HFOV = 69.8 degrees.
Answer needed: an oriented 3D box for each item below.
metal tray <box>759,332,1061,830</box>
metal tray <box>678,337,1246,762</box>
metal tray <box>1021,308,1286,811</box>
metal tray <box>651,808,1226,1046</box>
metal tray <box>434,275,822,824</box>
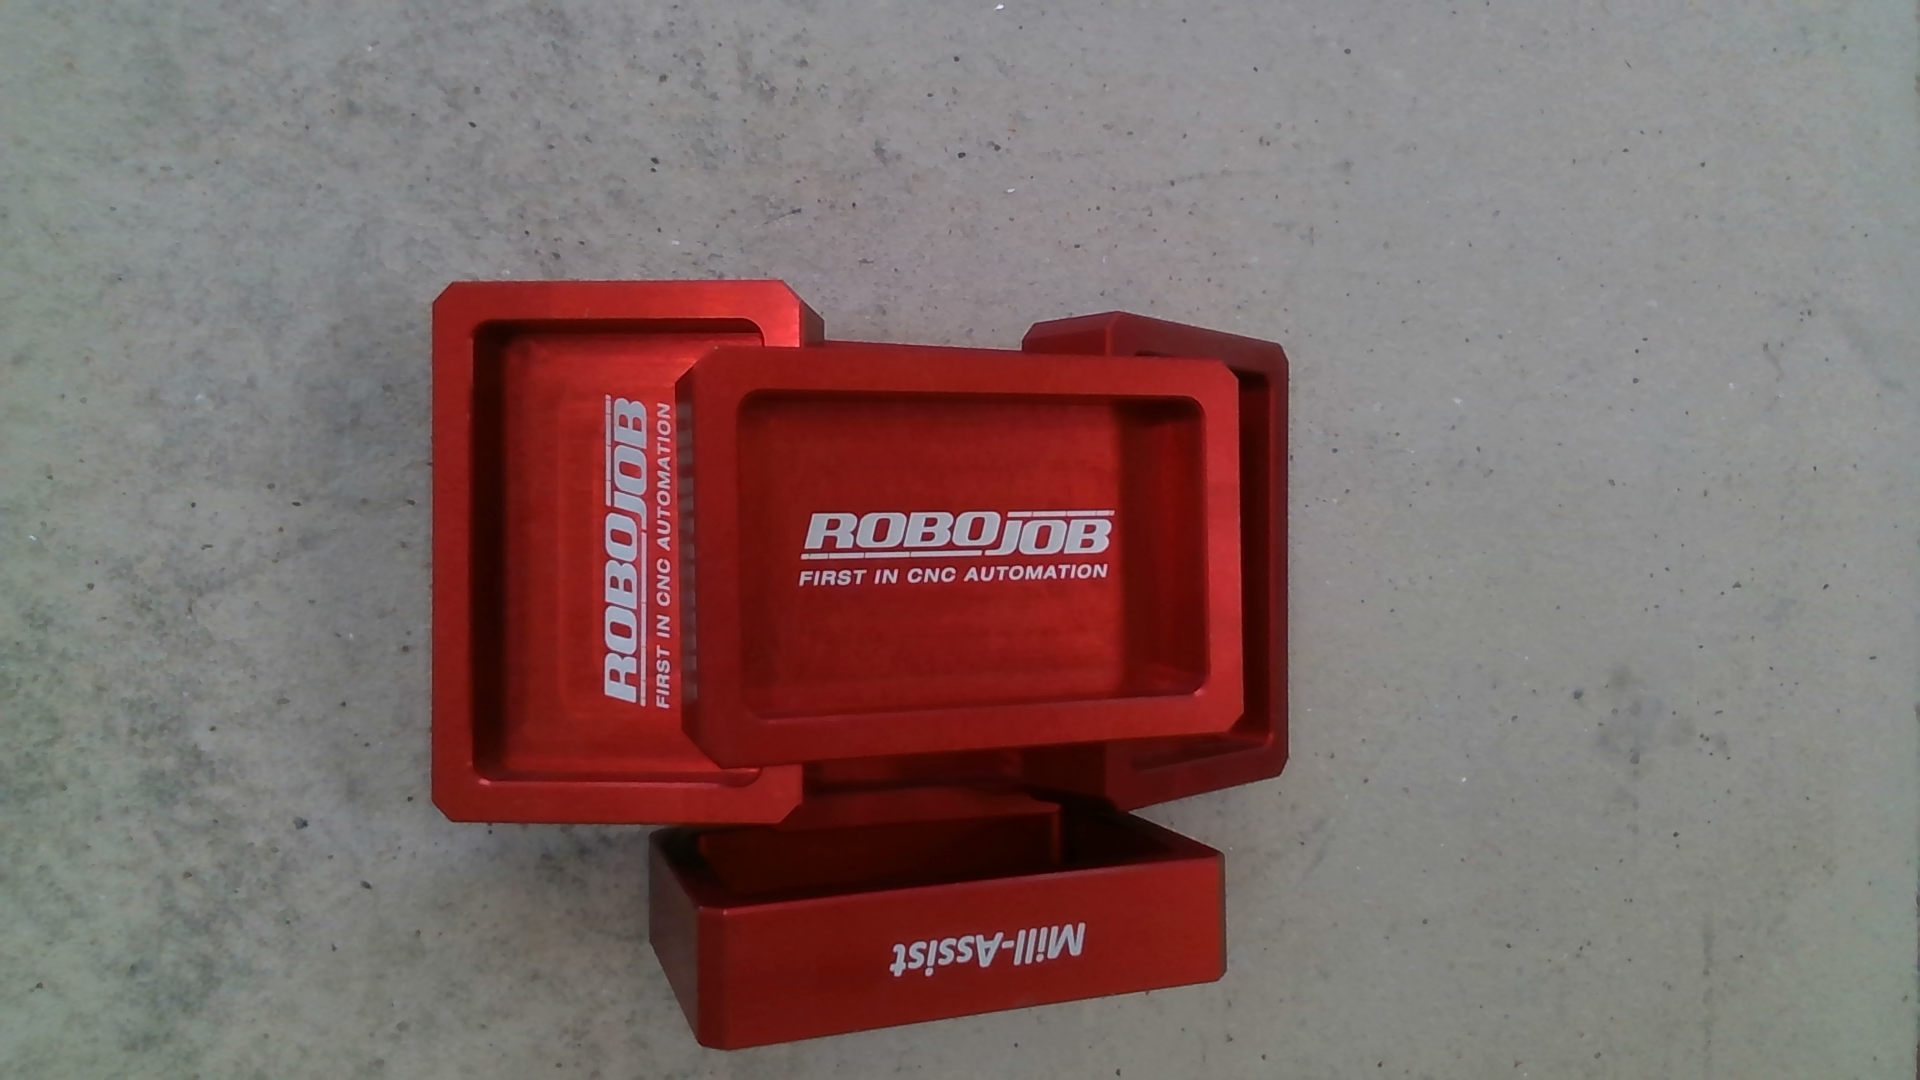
[{"bbox_3d":[-0.014,0.010,0.384,0.090,0.030,0.130,-1,90,-19],"label":"metal tray"},{"bbox_3d":[0.001,0.001,0.323,0.130,0.030,0.090,-1,90,-18],"label":"metal tray"},{"bbox_3d":[0.058,0.005,0.394,0.090,0.030,0.130,-1,91,-47],"label":"metal tray"},{"bbox_3d":[-0.009,0.093,0.356,0.130,0.090,0.030,-1,90,-20],"label":"metal tray"},{"bbox_3d":[-0.081,0.002,0.343,0.090,0.030,0.130,0,90,5],"label":"metal tray"}]
